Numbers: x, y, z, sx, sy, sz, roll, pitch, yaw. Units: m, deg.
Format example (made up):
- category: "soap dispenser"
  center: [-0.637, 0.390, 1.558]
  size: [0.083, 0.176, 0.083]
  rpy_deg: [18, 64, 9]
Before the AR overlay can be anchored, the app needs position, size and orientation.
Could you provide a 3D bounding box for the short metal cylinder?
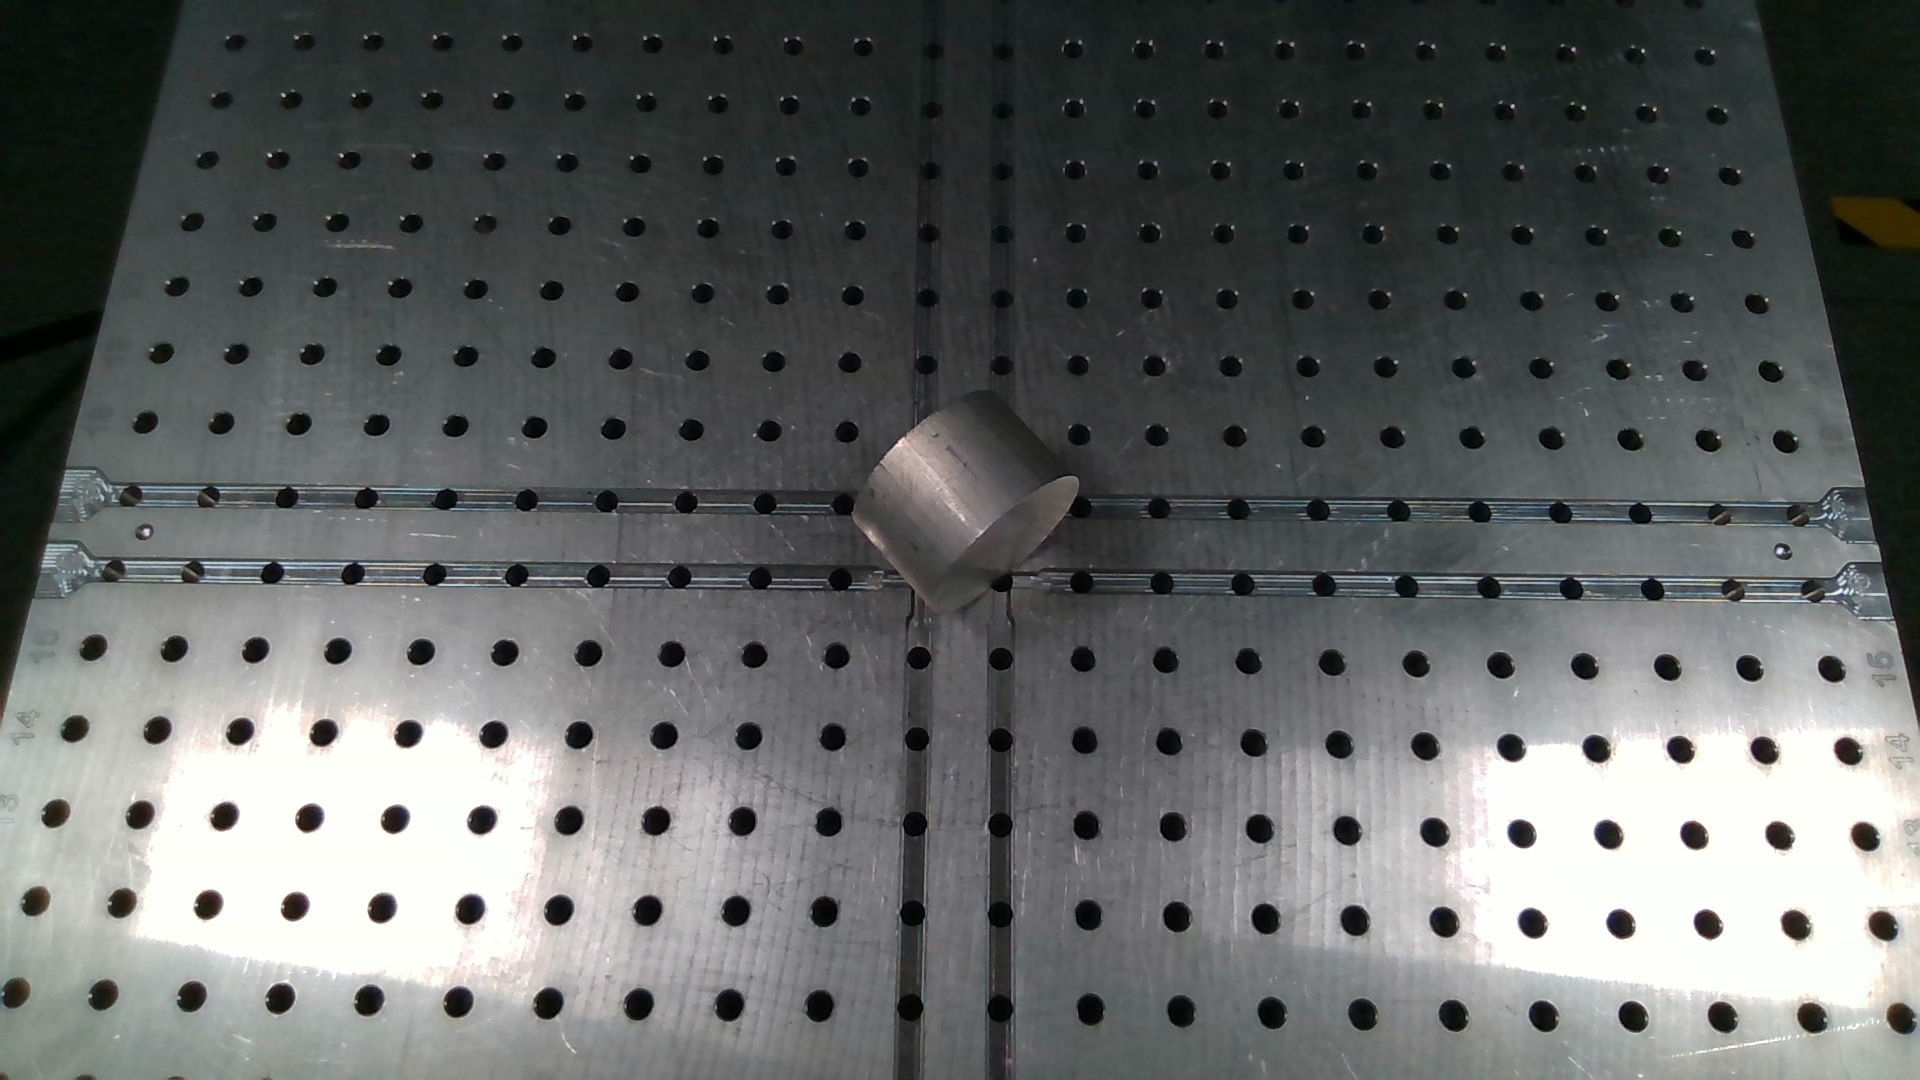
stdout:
- category: "short metal cylinder"
  center: [0.002, -0.016, 0.566]
  size: [0.080, 0.080, 0.050]
  rpy_deg: [-39, 75, -13]
